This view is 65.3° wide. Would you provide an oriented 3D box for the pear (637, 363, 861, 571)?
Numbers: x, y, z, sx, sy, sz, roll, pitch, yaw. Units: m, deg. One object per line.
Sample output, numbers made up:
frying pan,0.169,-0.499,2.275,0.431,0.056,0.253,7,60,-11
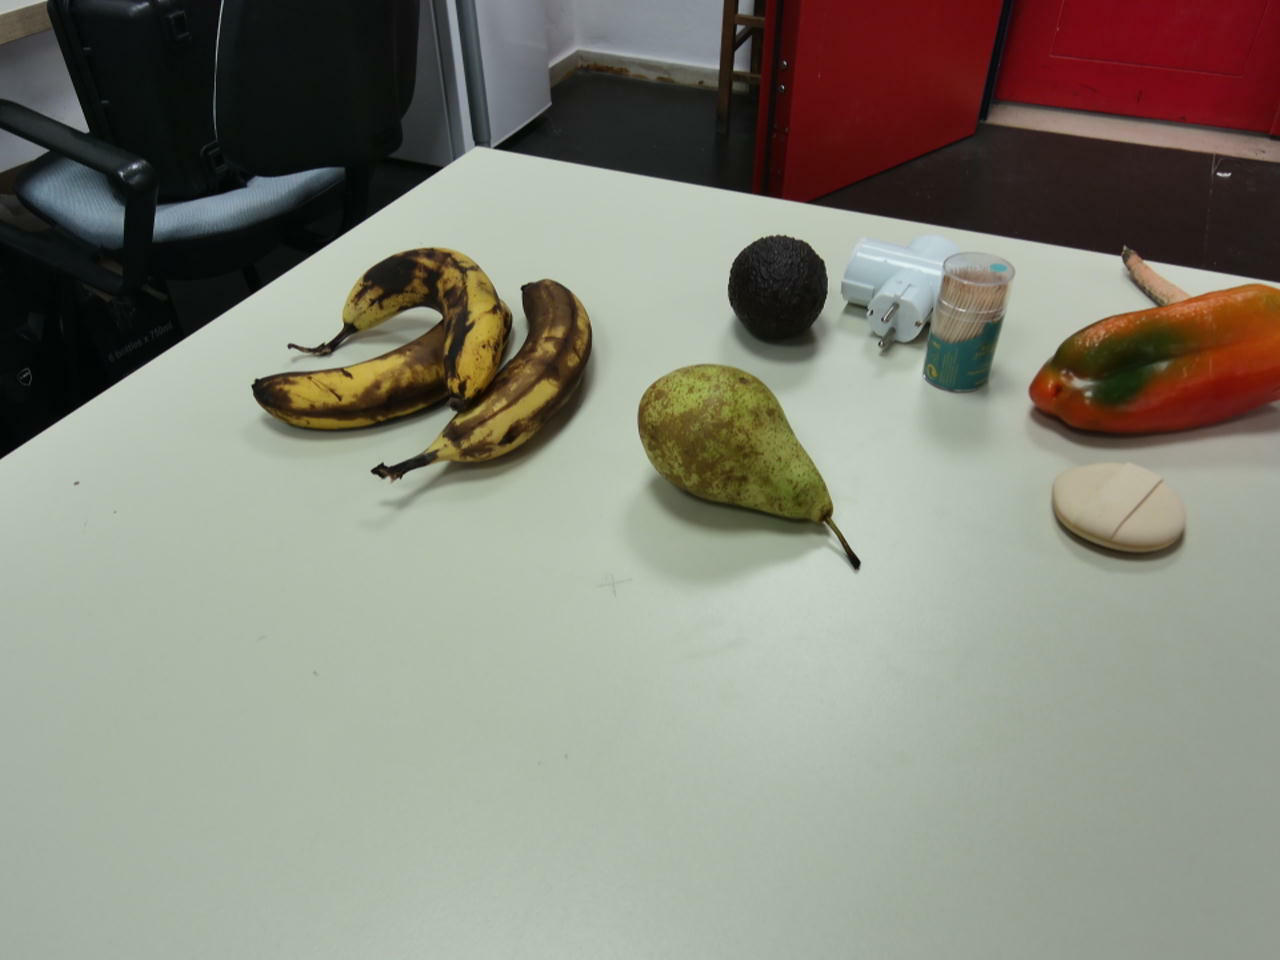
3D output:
pear,0.060,-0.019,0.520,0.128,0.075,0.071,12,39,14
